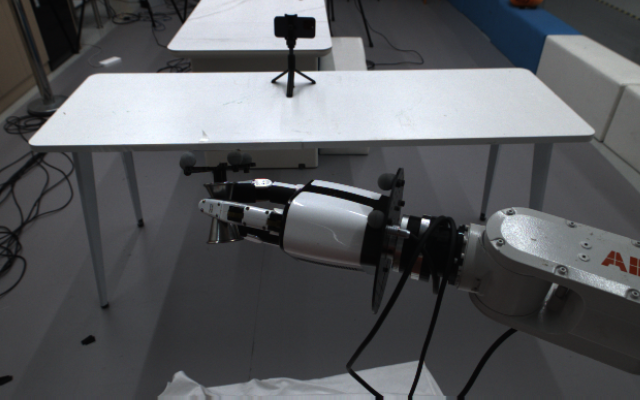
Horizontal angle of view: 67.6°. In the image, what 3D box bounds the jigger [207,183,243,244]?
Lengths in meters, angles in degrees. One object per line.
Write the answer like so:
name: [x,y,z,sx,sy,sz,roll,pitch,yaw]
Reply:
jigger: [-0.112,0.014,0.562,0.043,0.071,0.043,-4,1,0]
